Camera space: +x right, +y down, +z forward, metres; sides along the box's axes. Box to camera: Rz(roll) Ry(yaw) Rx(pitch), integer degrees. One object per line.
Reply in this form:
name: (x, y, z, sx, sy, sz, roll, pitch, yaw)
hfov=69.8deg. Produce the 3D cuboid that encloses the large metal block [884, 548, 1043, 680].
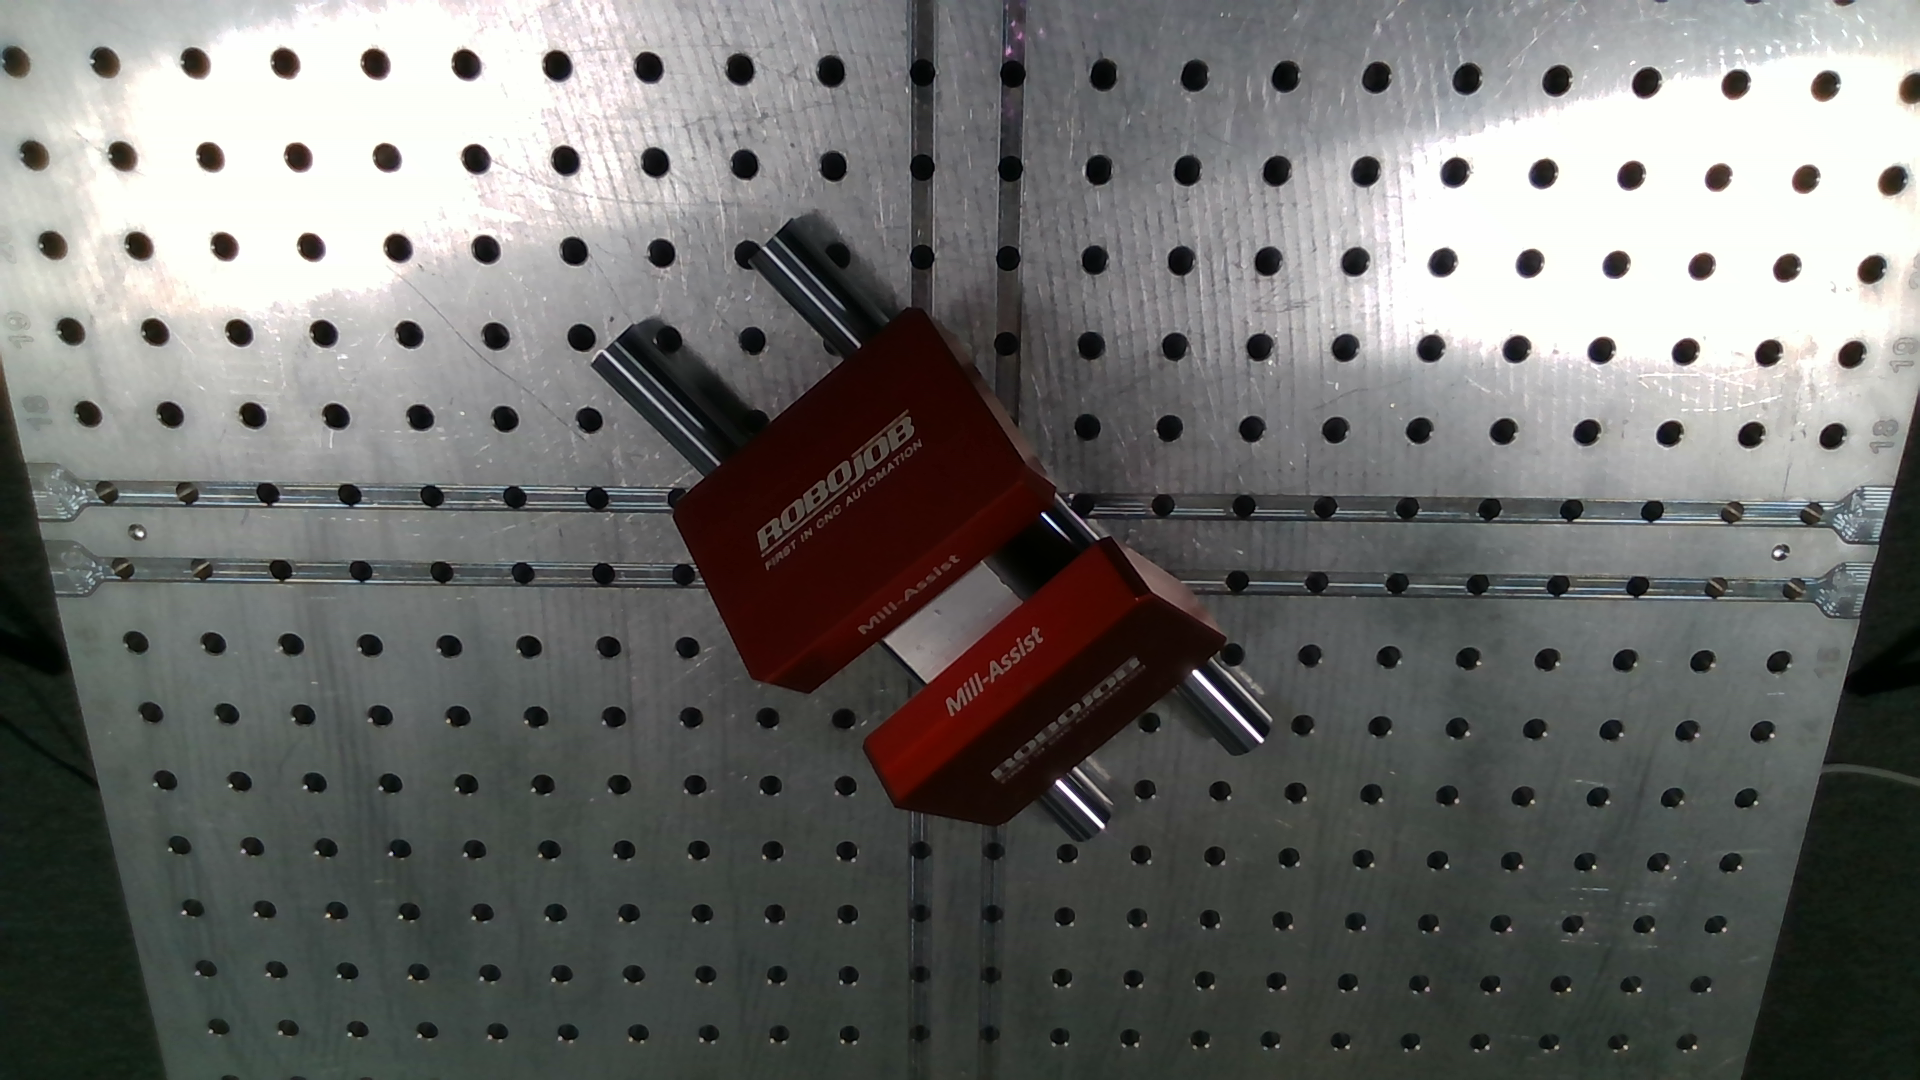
large metal block: (0.000, 0.020, 0.565, 0.050, 0.080, 0.080, -40, 105, 13)

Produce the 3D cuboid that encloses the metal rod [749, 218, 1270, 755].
metal rod: (0.027, -0.016, 0.581, 0.025, 0.025, 0.300, -41, 105, 14)

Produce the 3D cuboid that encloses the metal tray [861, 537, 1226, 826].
metal tray: (0.035, 0.061, 0.552, 0.130, 0.030, 0.090, -41, 149, 14)

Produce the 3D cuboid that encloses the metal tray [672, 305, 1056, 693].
metal tray: (-0.039, -0.015, 0.524, 0.130, 0.030, 0.090, -38, 62, 13)

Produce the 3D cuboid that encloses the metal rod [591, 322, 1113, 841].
metal rod: (-0.040, 0.025, 0.596, 0.025, 0.025, 0.300, -40, 105, 13)
